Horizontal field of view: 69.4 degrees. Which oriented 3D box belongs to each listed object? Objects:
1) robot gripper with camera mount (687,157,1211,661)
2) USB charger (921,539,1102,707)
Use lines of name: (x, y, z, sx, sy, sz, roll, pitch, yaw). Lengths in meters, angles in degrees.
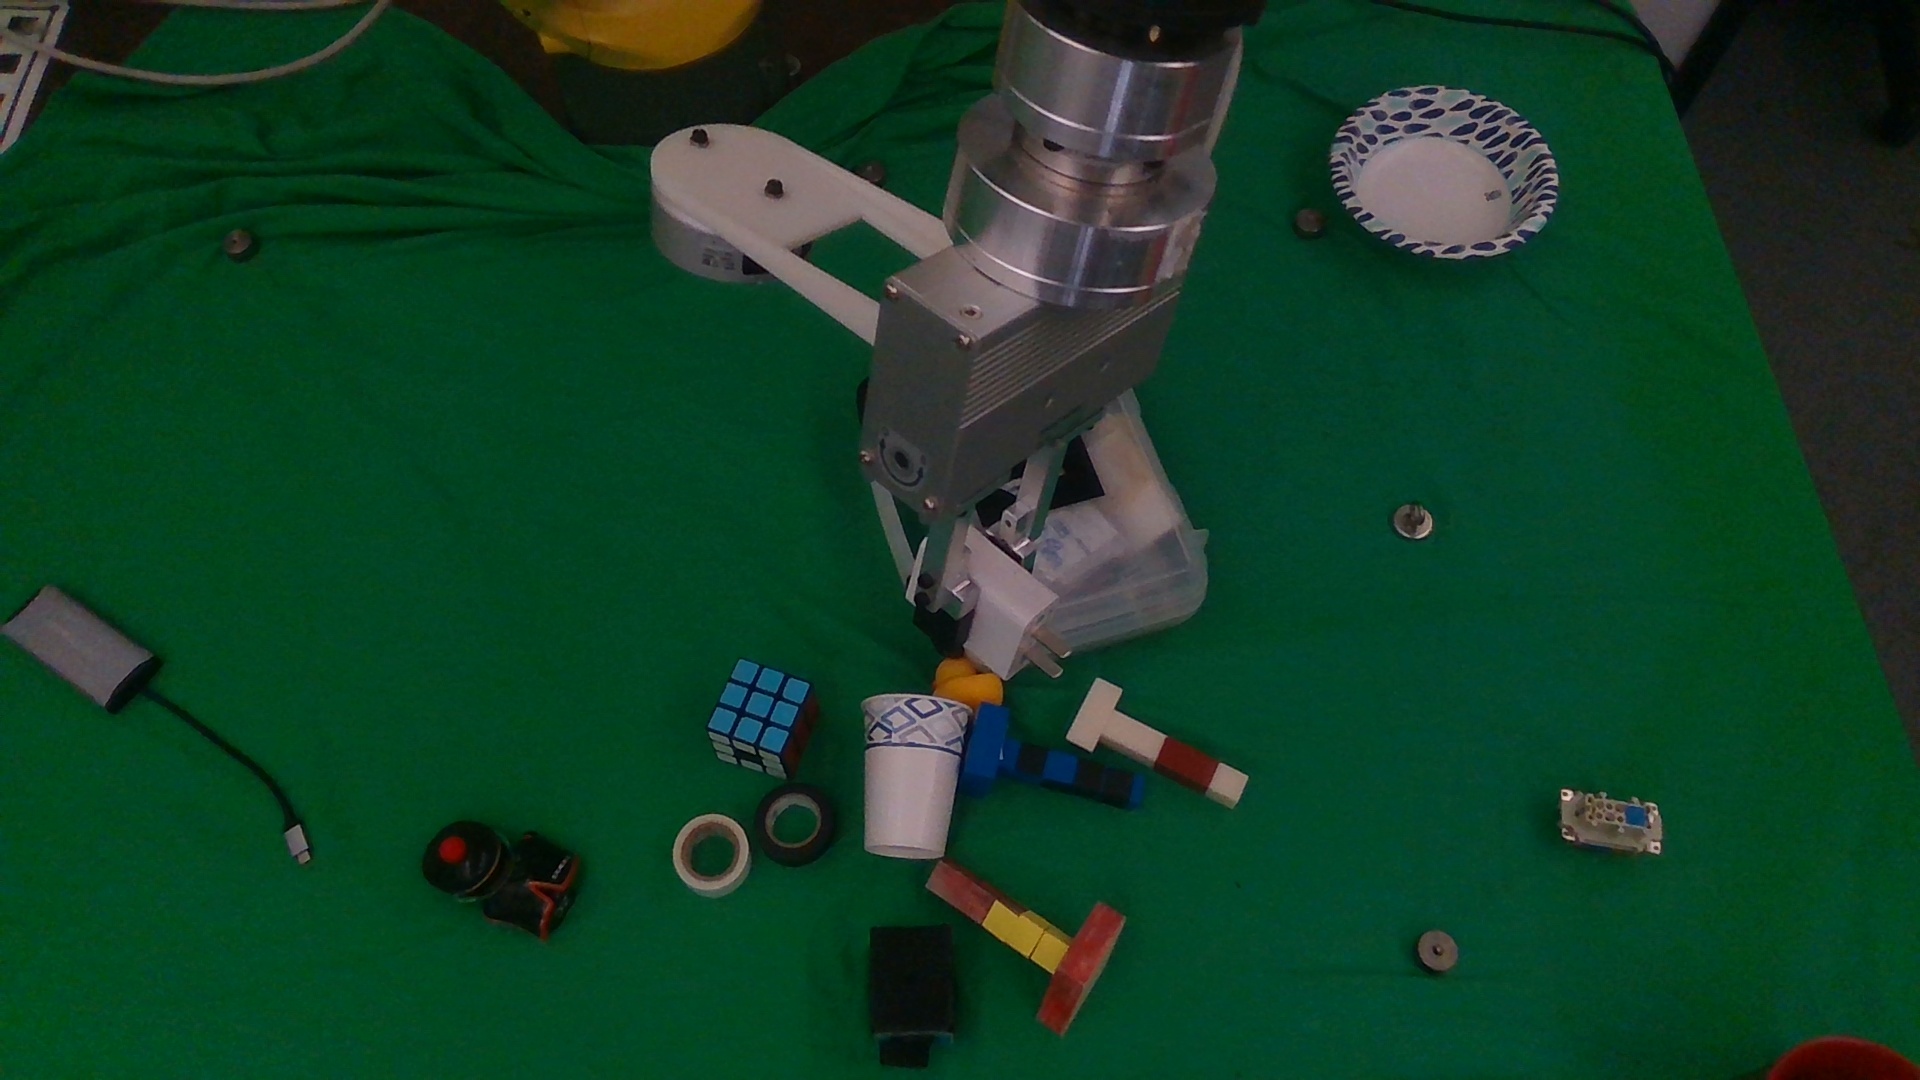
robot gripper with camera mount: (-0.034, -0.064, 0.514, 0.118, 0.158, 0.194, -31, 54, -34)
USB charger: (0.020, 0.032, 0.517, 0.076, 0.045, 0.029, 40, 52, 21)
